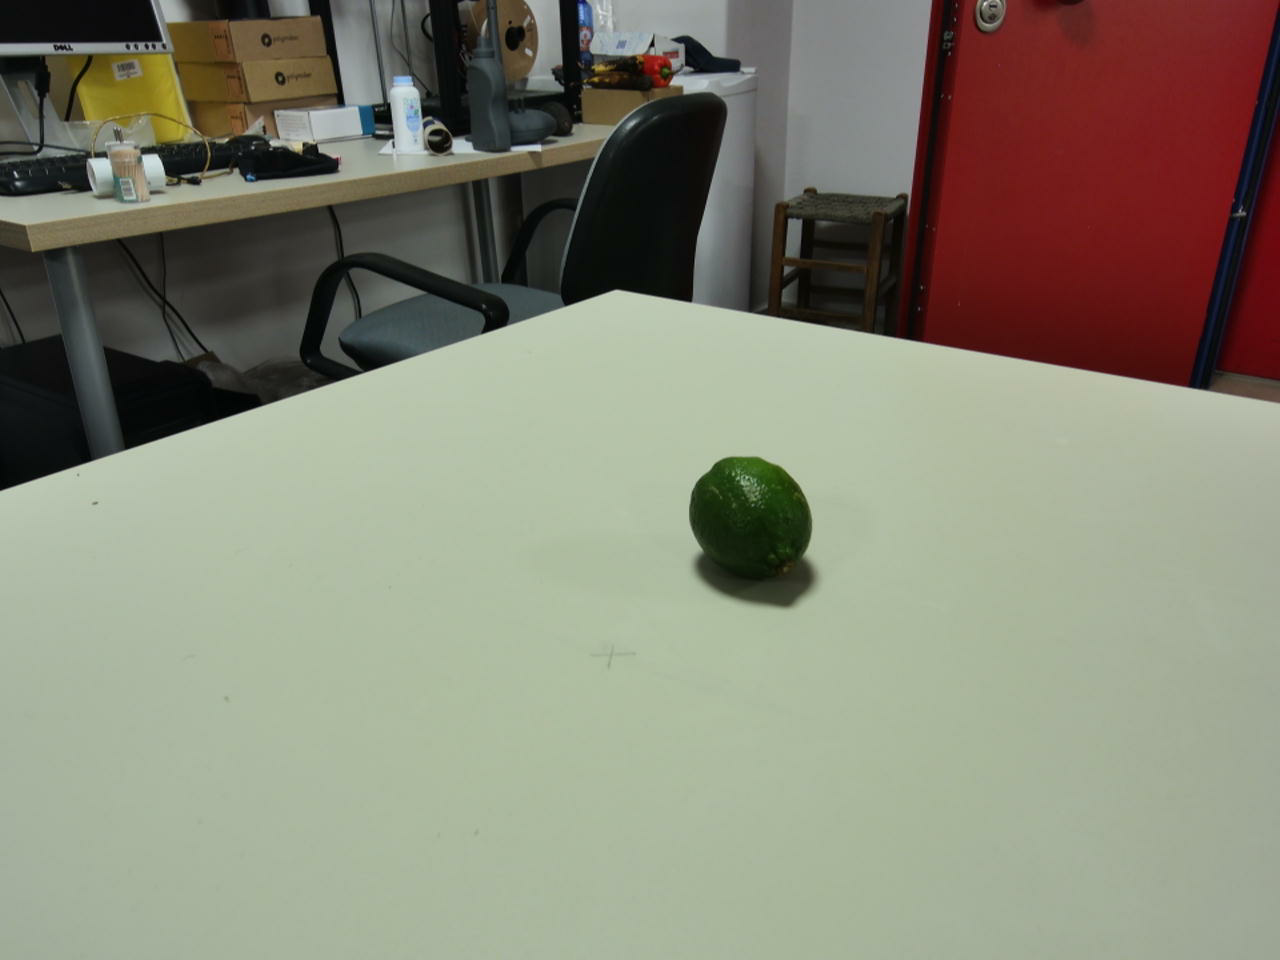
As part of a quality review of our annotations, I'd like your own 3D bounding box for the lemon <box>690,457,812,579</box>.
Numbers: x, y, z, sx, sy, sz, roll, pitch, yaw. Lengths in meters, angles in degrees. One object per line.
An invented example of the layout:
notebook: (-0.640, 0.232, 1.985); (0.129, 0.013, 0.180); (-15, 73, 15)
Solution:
lemon: (0.049, 0.016, 0.441); (0.057, 0.051, 0.054); (15, 27, 32)
